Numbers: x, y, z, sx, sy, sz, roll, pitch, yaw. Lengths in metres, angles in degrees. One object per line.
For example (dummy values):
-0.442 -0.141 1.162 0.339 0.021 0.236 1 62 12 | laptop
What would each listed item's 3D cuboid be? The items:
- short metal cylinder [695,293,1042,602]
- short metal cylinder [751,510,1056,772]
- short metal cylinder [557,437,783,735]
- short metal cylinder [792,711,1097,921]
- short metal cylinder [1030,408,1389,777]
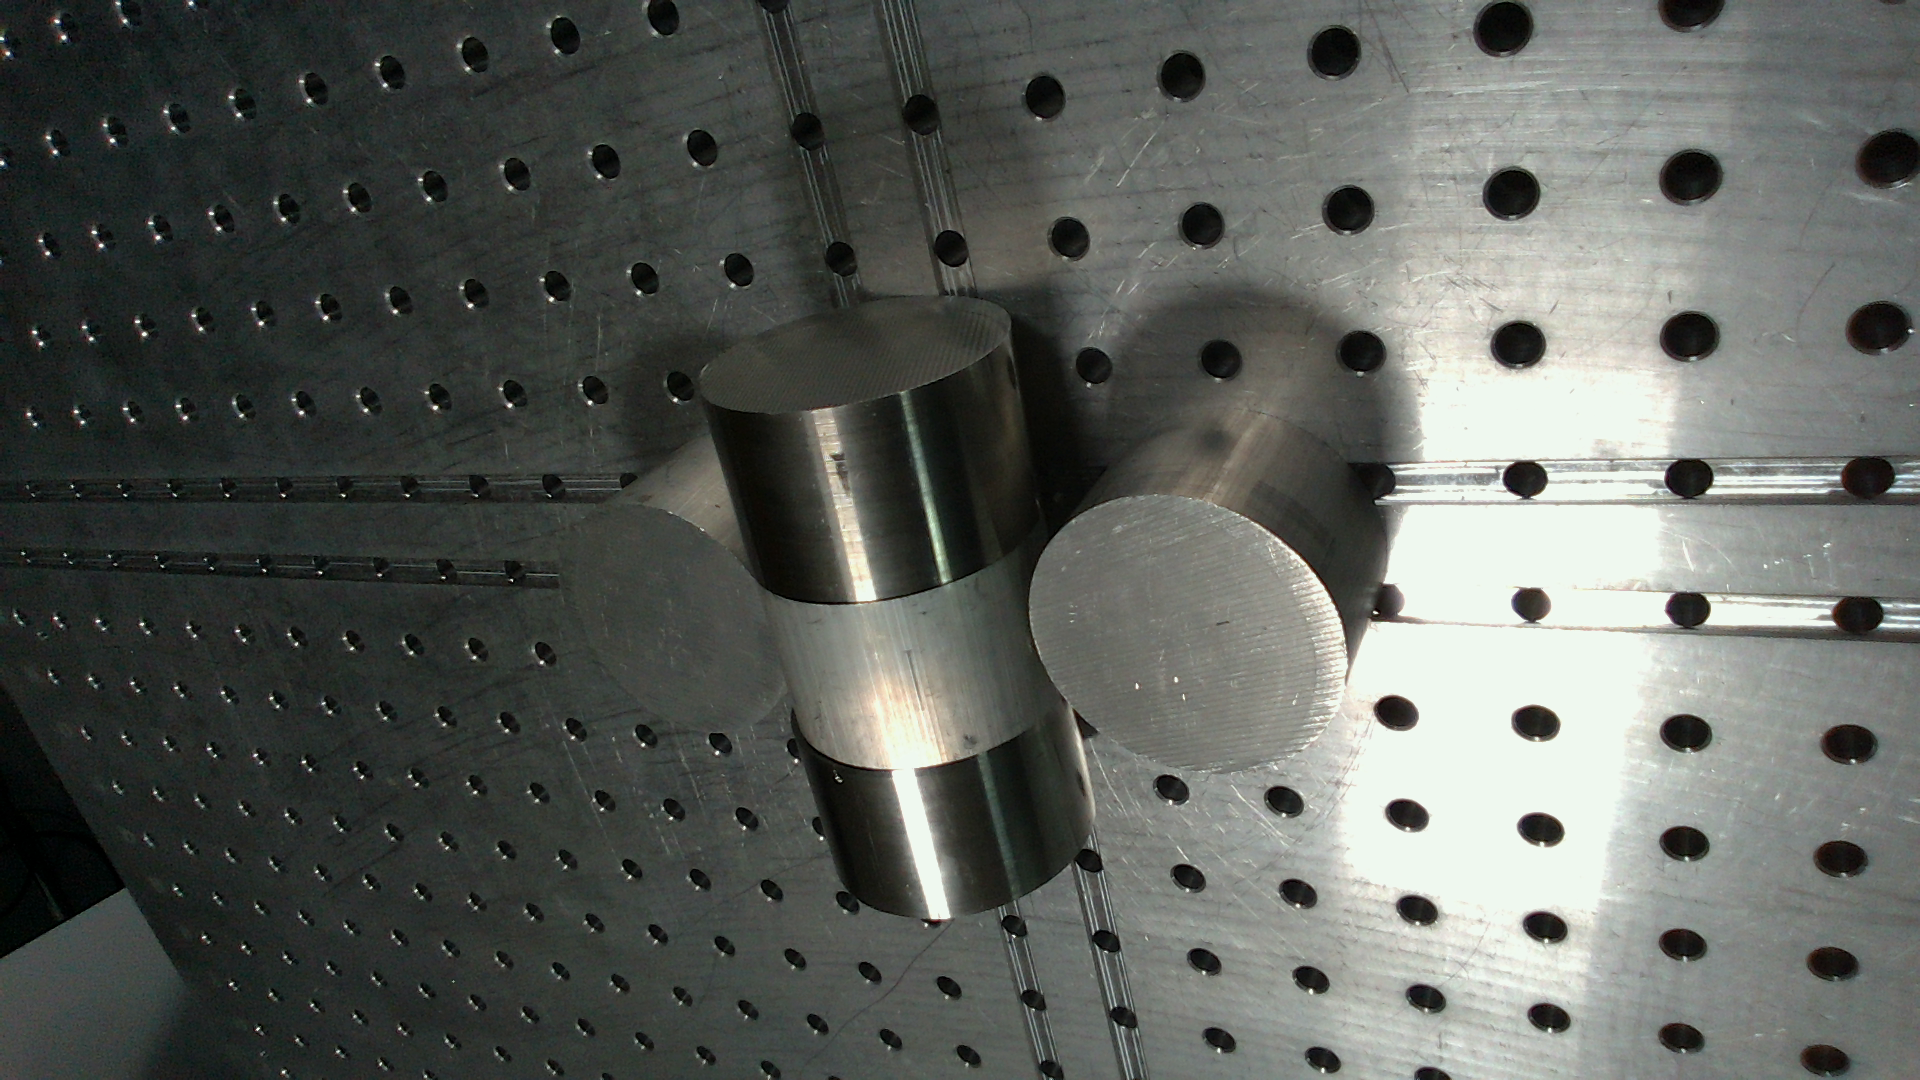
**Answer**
-0.022 -0.026 0.355 0.080 0.080 0.050 3 120 27 | short metal cylinder
-0.012 0.019 0.378 0.080 0.080 0.050 2 119 27 | short metal cylinder
-0.077 0.013 0.428 0.080 0.050 0.080 13 124 21 | short metal cylinder
-0.004 0.064 0.401 0.080 0.080 0.050 1 119 28 | short metal cylinder
0.064 0.013 0.352 0.080 0.050 0.080 13 124 21 | short metal cylinder
